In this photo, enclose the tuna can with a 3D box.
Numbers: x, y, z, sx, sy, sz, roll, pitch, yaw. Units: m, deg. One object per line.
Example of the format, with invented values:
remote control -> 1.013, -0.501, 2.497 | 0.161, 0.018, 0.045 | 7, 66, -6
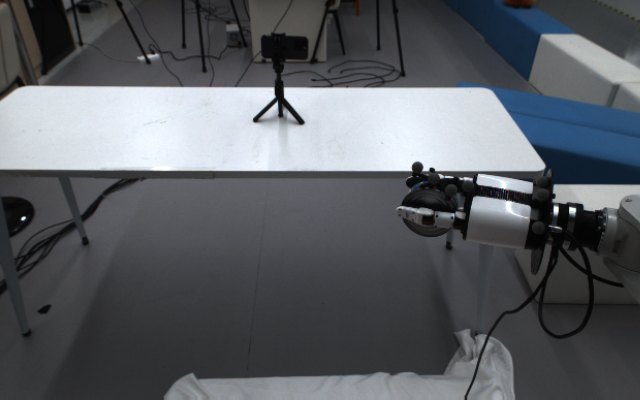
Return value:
tuna can -> 0.175, 0.013, 0.764 | 0.085, 0.085, 0.034 | 16, 29, 19
